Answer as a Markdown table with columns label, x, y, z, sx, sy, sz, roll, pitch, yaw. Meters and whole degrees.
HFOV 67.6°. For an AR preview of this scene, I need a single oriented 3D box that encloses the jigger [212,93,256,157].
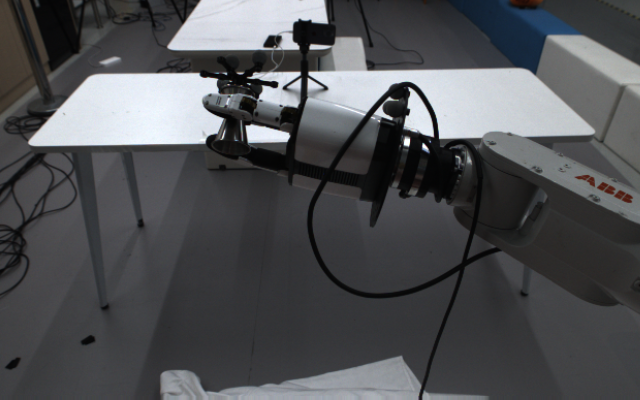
| label | x | y | z | sx | sy | sz | roll | pitch | yaw |
| --- | --- | --- | --- | --- | --- | --- | --- | --- | --- |
| jigger | -0.097 | -0.091 | 0.547 | 0.043 | 0.043 | 0.071 | 3 | 75 | 2 |
